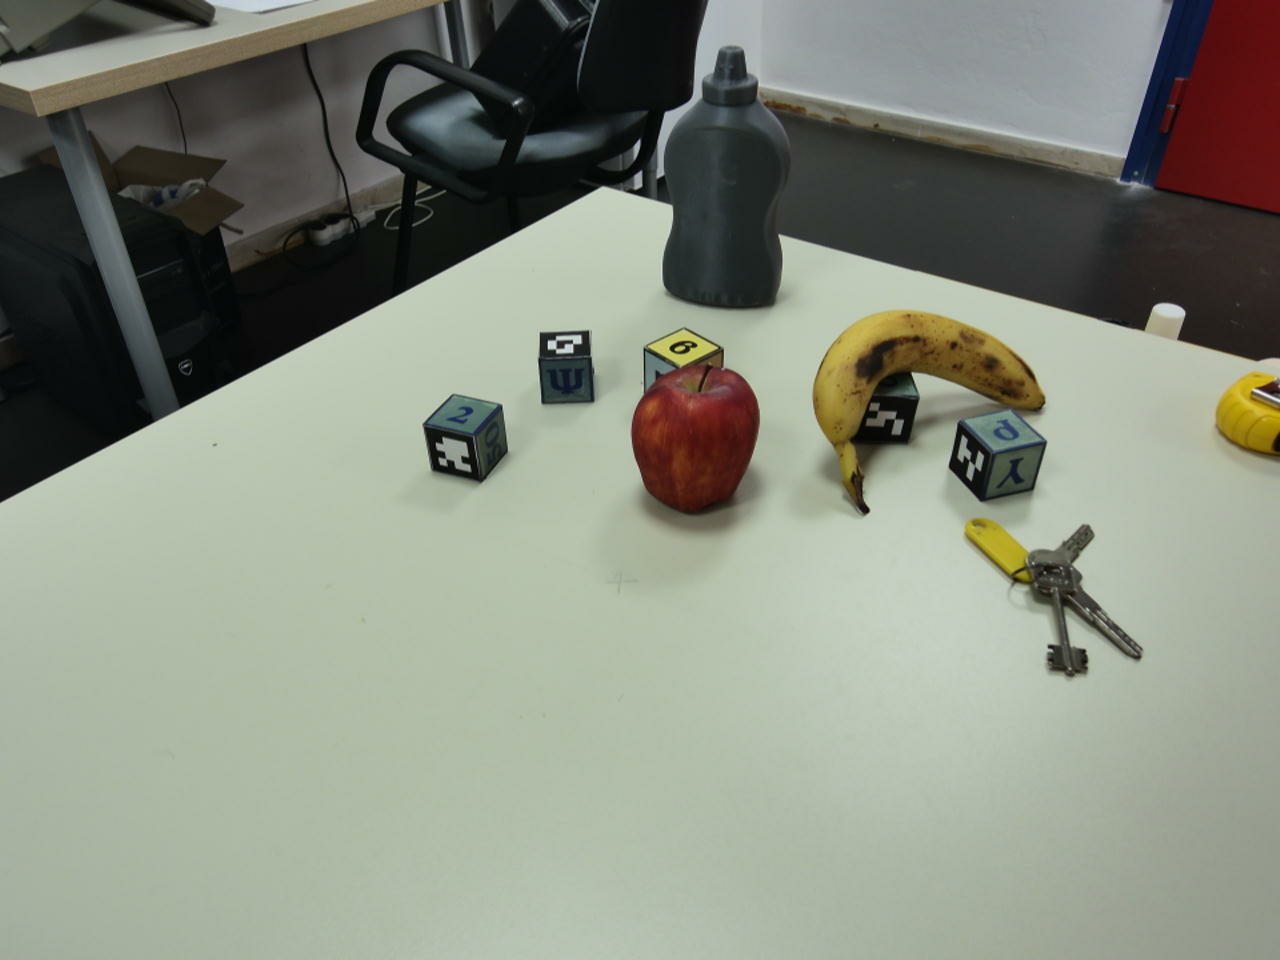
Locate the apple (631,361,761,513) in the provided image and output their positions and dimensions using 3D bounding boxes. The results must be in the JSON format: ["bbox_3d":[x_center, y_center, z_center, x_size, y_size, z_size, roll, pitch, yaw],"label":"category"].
[{"bbox_3d":[0.034,-0.032,0.599,0.083,0.090,0.083,-1,37,1],"label":"apple"}]
